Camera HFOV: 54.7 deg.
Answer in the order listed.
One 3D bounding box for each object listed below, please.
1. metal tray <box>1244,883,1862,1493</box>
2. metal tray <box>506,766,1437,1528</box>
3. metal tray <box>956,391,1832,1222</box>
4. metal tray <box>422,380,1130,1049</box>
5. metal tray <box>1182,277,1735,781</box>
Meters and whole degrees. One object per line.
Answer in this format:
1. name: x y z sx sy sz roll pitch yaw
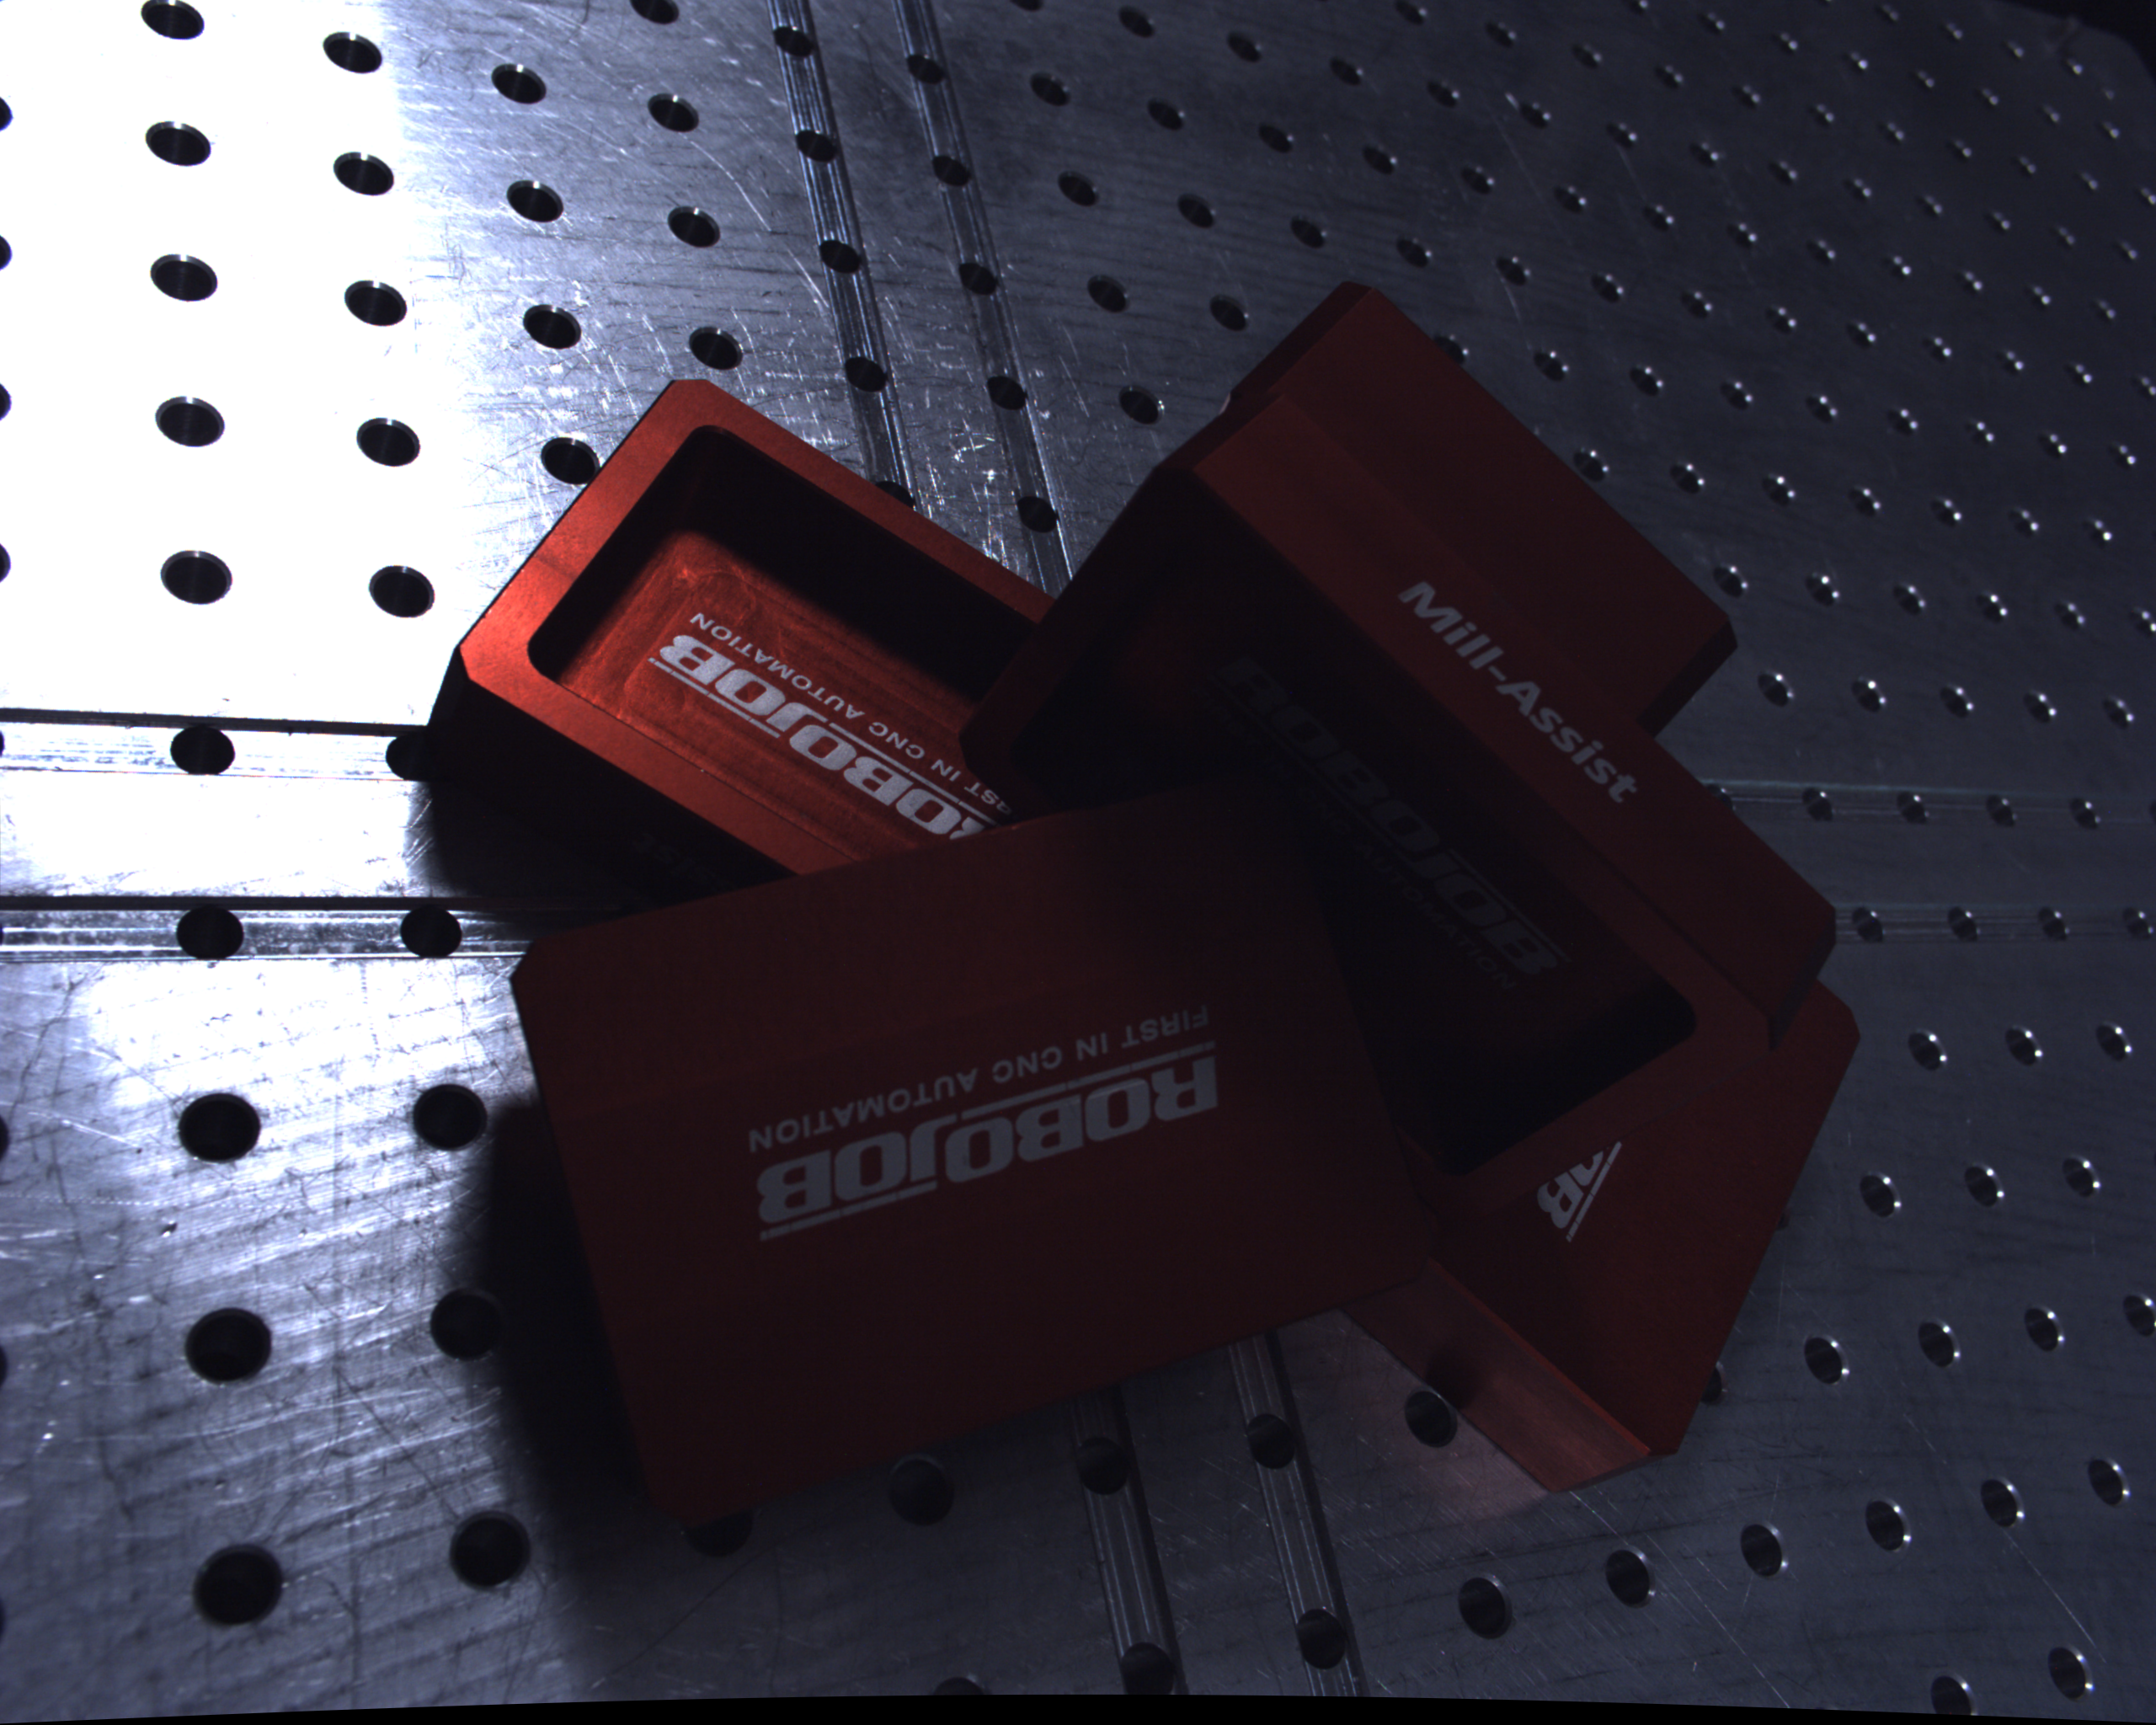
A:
1. metal tray: 0.101 0.050 0.429 0.090 0.030 0.131 42 51 0
2. metal tray: -0.017 0.043 0.340 0.131 0.030 0.090 -14 79 -19
3. metal tray: 0.049 -0.006 0.359 0.130 0.090 0.030 44 51 1
4. metal tray: -0.043 -0.025 0.398 0.130 0.030 0.090 31 51 -8
5. metal tray: 0.061 -0.049 0.406 0.090 0.130 0.030 43 79 1
